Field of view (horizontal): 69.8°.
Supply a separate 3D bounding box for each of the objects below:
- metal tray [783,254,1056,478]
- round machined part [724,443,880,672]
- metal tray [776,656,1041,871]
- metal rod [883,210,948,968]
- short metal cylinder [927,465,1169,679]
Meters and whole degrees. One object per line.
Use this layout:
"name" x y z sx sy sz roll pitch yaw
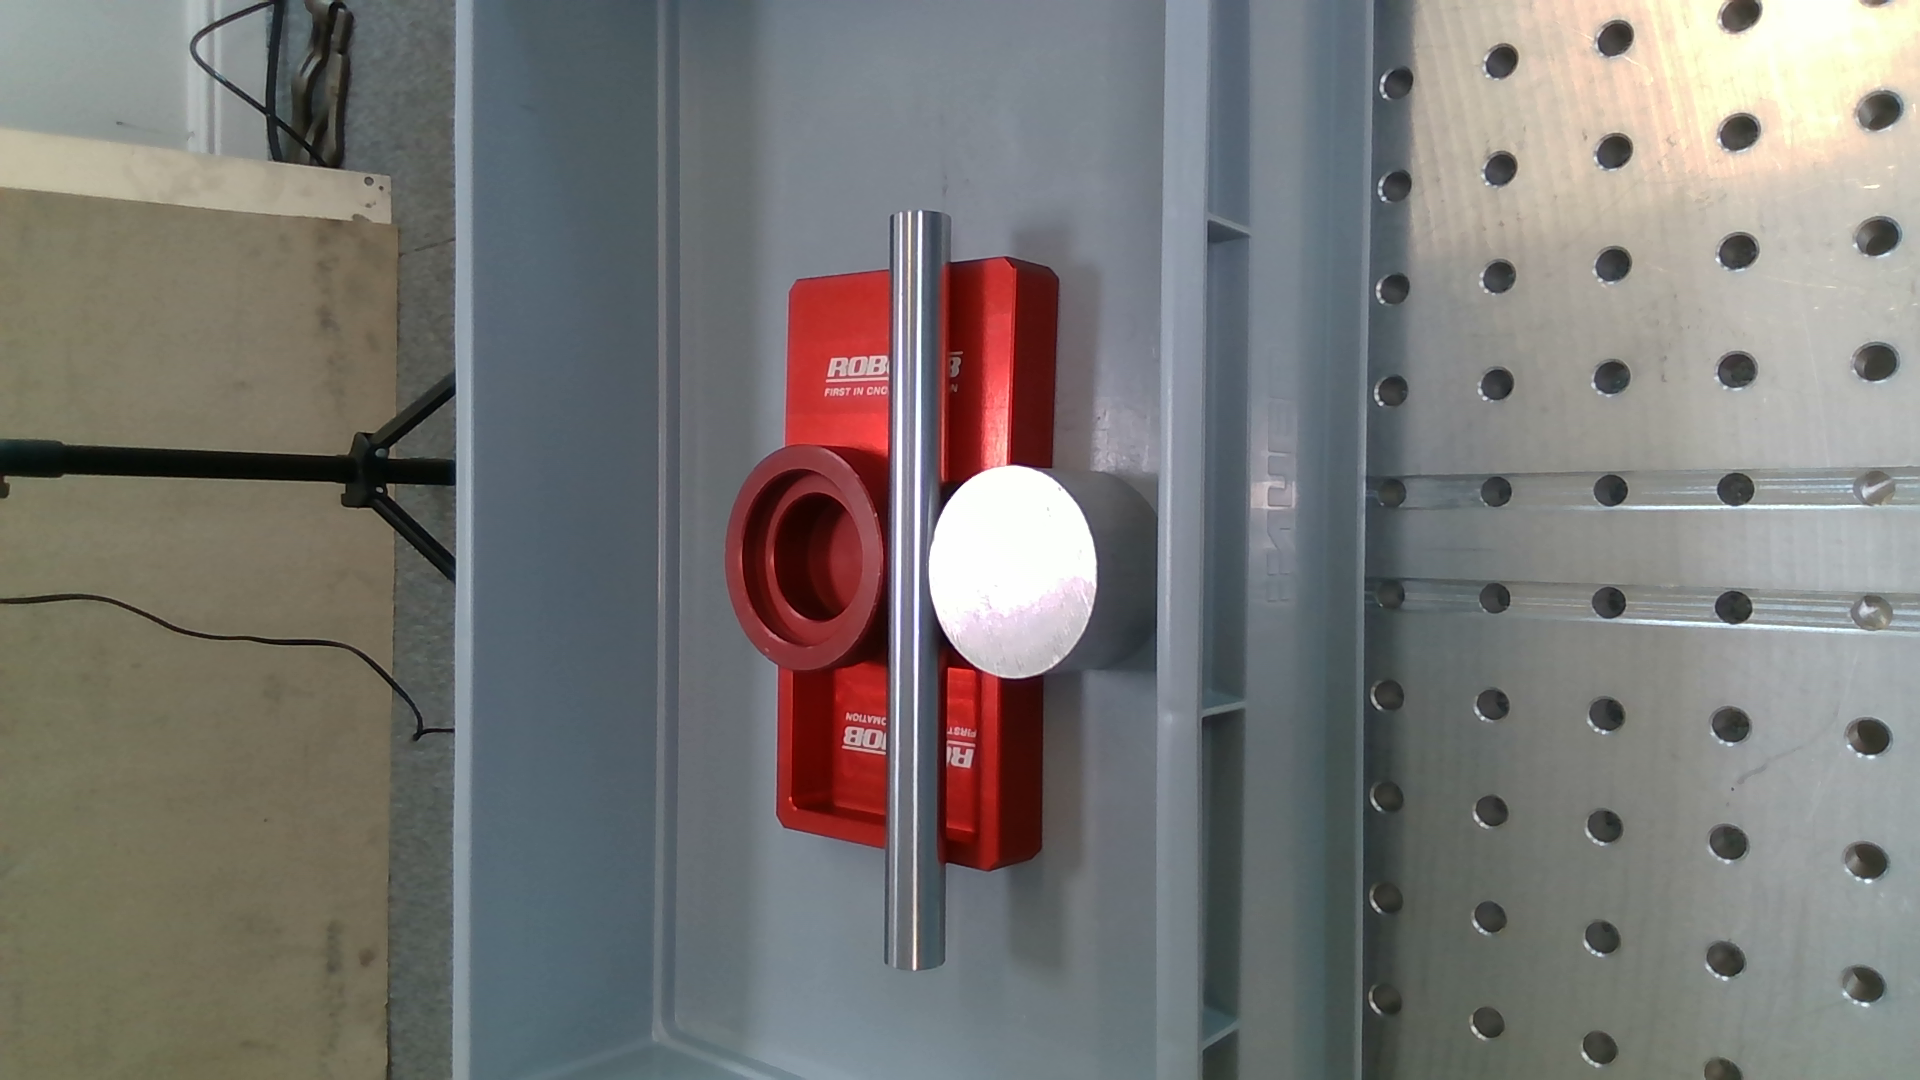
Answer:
"metal tray" -0.021 -0.070 0.593 0.130 0.030 0.090 4 93 40
"round machined part" -0.056 0.007 0.605 0.098 0.042 0.098 0 91 40
"metal tray" -0.026 0.087 0.600 0.130 0.030 0.090 1 91 40
"metal rod" -0.018 0.020 0.556 0.025 0.025 0.300 1 91 40
"short metal cylinder" 0.034 0.012 0.536 0.080 0.050 0.080 0 91 40
